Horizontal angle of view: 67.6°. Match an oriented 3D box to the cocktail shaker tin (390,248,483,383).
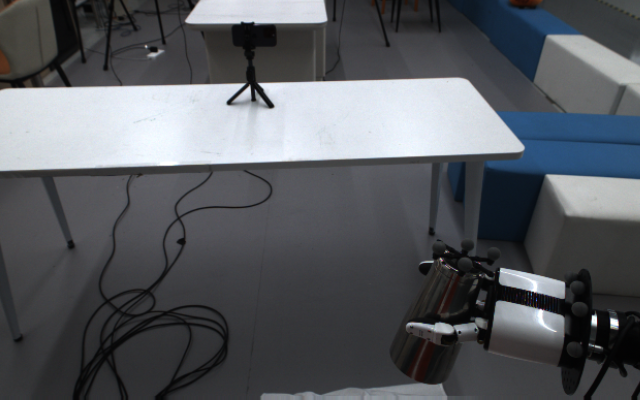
[{"bbox_3d":[0.167,0.154,0.668,0.093,0.170,0.093,12,24,-5],"label":"cocktail shaker tin"}]
